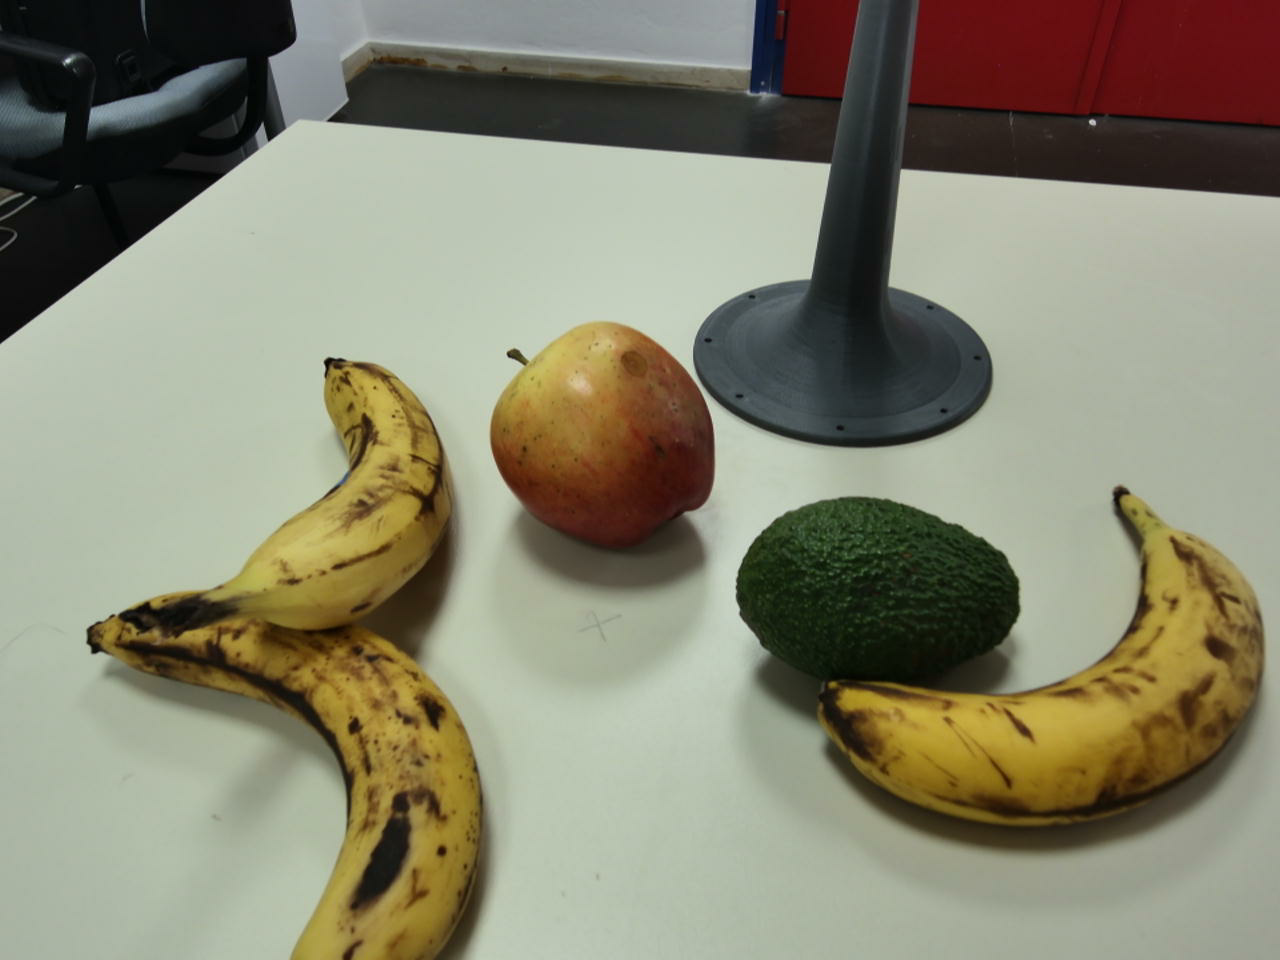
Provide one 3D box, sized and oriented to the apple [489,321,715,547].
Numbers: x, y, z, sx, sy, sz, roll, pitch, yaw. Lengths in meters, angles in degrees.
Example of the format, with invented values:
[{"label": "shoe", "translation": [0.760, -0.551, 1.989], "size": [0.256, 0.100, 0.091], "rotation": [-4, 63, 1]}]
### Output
[{"label": "apple", "translation": [-0.016, -0.019, 0.402], "size": [0.086, 0.084, 0.093], "rotation": [-16, 40, -17]}]
